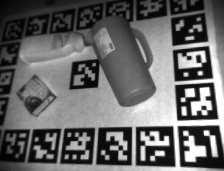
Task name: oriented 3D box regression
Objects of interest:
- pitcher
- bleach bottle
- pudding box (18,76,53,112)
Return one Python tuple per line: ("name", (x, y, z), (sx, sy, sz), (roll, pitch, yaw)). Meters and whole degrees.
("pitcher", (0.031, -0.081, 0.639), (0.190, 0.133, 0.241), (-17, 69, -25))
("bleach bottle", (-0.211, -0.152, 0.756), (0.249, 0.068, 0.102), (-8, 74, 13))
("pudding box", (-0.267, 0.021, 0.723), (0.090, 0.039, 0.113), (-44, 67, -7))
